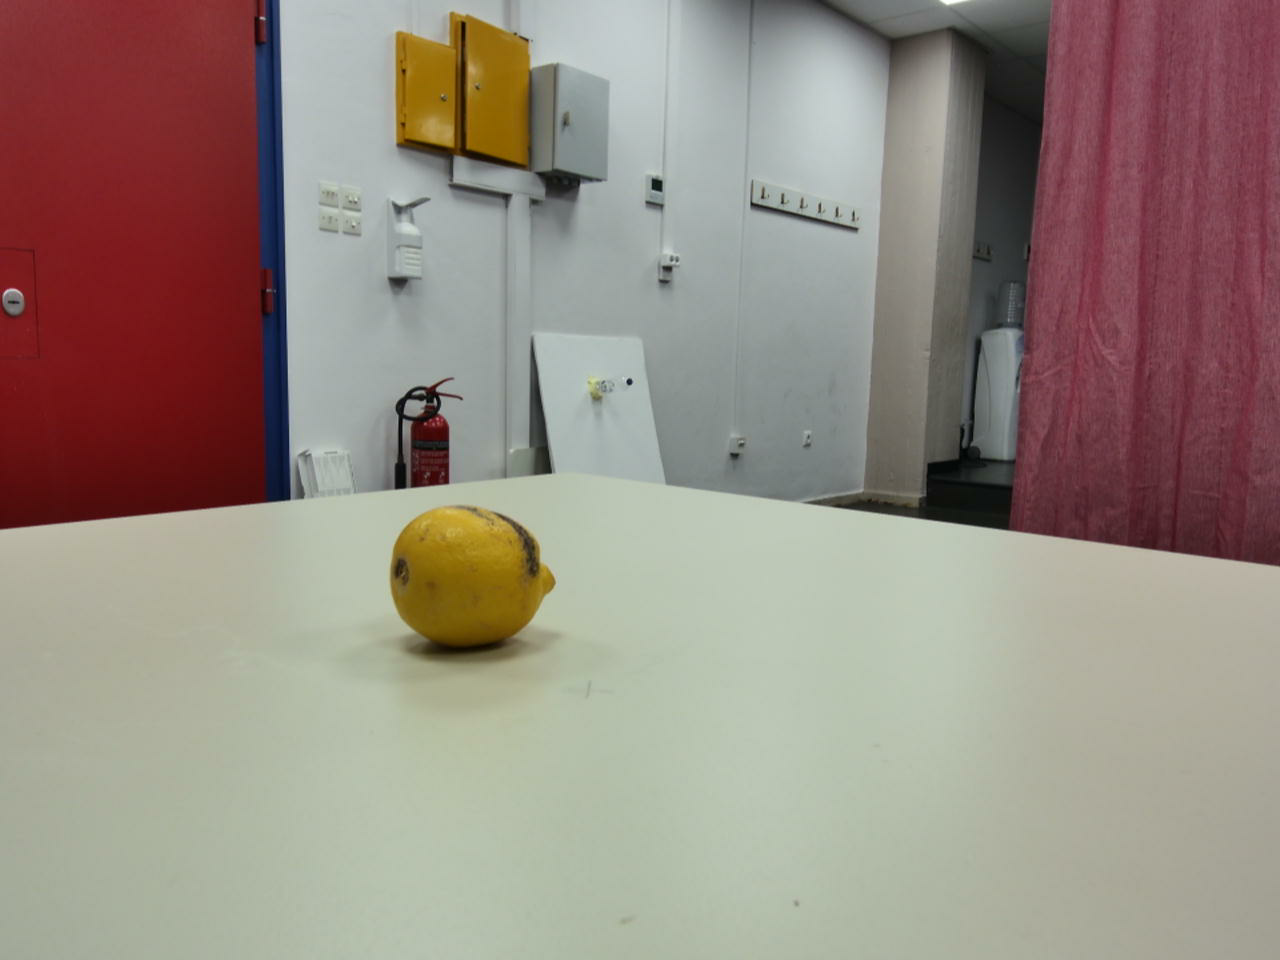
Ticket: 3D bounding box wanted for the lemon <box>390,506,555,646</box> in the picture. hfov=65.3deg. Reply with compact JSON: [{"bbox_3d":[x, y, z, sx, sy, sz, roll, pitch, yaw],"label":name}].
[{"bbox_3d":[-0.070,0.038,0.403,0.058,0.056,0.061,4,6,32],"label":"lemon"}]
